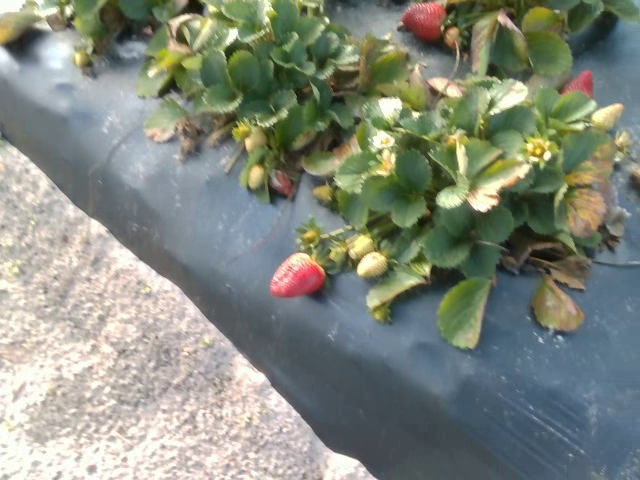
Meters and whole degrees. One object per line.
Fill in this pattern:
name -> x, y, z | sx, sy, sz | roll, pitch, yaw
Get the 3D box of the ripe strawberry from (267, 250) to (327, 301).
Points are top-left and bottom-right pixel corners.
ripe strawberry -> -0.030, 0.044, 0.709 | 0.052, 0.067, 0.045 | 39, -28, 23
